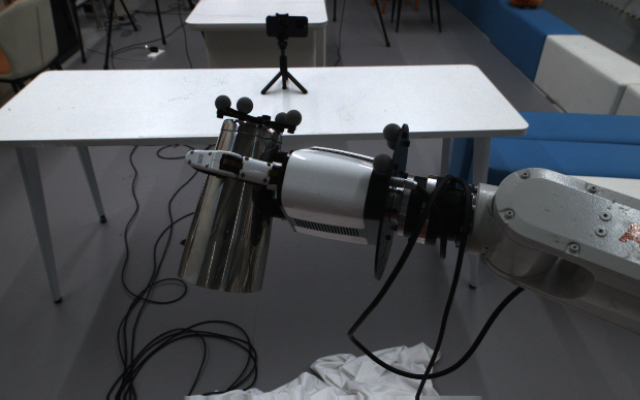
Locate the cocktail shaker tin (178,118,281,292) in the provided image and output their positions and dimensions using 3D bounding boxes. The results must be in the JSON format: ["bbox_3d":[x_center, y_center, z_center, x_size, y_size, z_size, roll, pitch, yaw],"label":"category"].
[{"bbox_3d":[-0.086,0.003,0.523,0.093,0.170,0.093,13,1,0],"label":"cocktail shaker tin"}]
